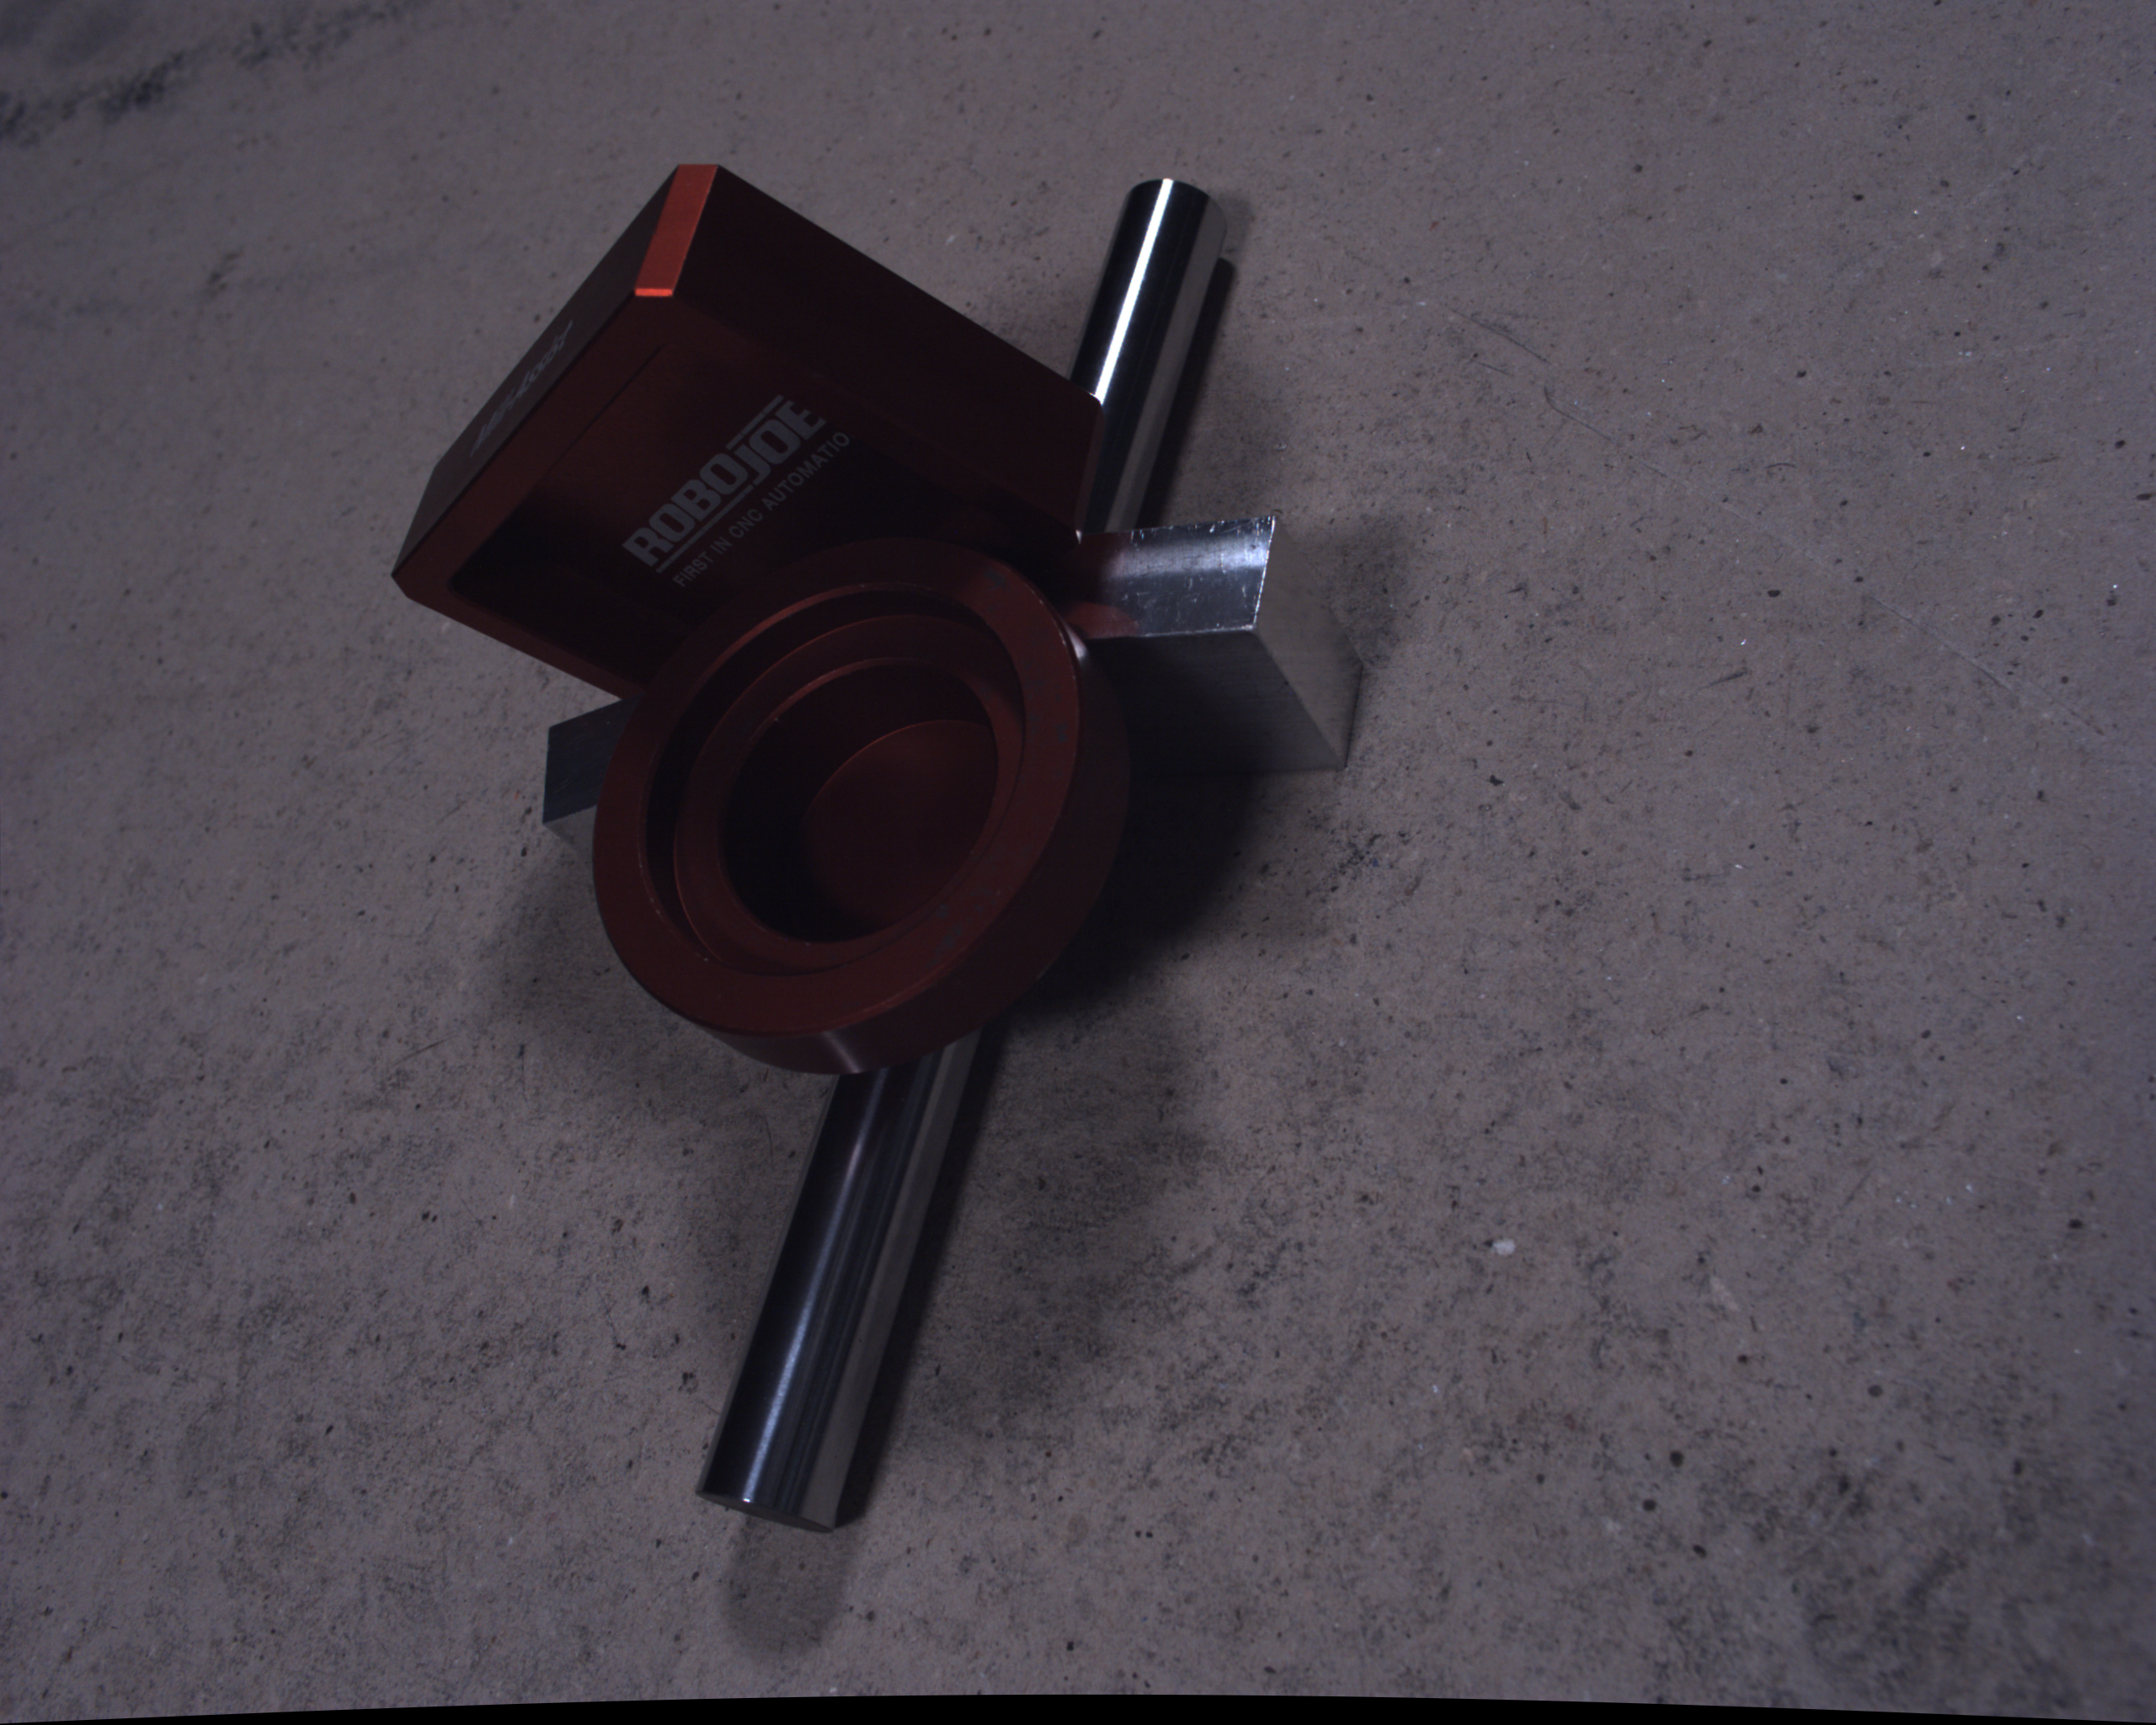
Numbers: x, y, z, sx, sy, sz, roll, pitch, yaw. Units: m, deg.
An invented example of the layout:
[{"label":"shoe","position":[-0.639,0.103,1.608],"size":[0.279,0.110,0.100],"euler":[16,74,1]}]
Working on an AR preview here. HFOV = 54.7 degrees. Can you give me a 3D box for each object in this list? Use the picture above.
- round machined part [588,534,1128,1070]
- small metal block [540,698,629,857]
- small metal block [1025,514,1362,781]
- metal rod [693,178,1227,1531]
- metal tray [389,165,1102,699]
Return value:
[{"label":"round machined part","position":[-0.036,-0.008,0.381],"size":[0.098,0.042,0.098],"euler":[-11,61,20]},{"label":"small metal block","position":[-0.075,-0.013,0.435],"size":[0.050,0.050,0.025],"euler":[-18,55,18]},{"label":"small metal block","position":[0.021,-0.040,0.401],"size":[0.050,0.050,0.025],"euler":[-1,61,27]},{"label":"metal rod","position":[-0.016,-0.018,0.424],"size":[0.025,0.025,0.300],"euler":[2,63,29]},{"label":"metal tray","position":[-0.069,-0.071,0.412],"size":[0.130,0.090,0.030],"euler":[-26,45,50]}]
